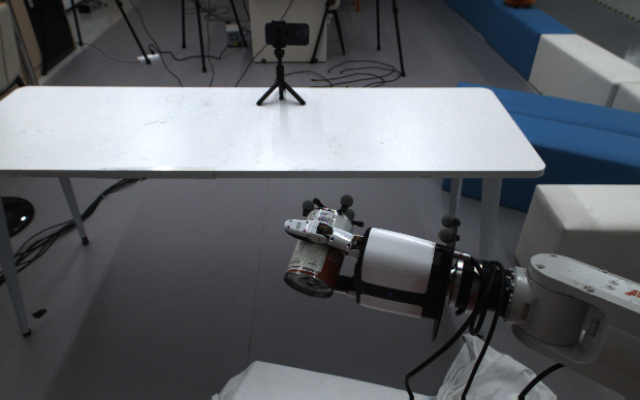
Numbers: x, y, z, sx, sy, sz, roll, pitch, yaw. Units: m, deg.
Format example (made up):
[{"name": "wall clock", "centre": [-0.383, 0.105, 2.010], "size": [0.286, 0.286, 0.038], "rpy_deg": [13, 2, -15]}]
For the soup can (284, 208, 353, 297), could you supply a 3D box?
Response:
[{"name": "soup can", "centre": [0.000, 0.068, 0.643], "size": [0.067, 0.067, 0.101], "rpy_deg": [12, 59, 14]}]
